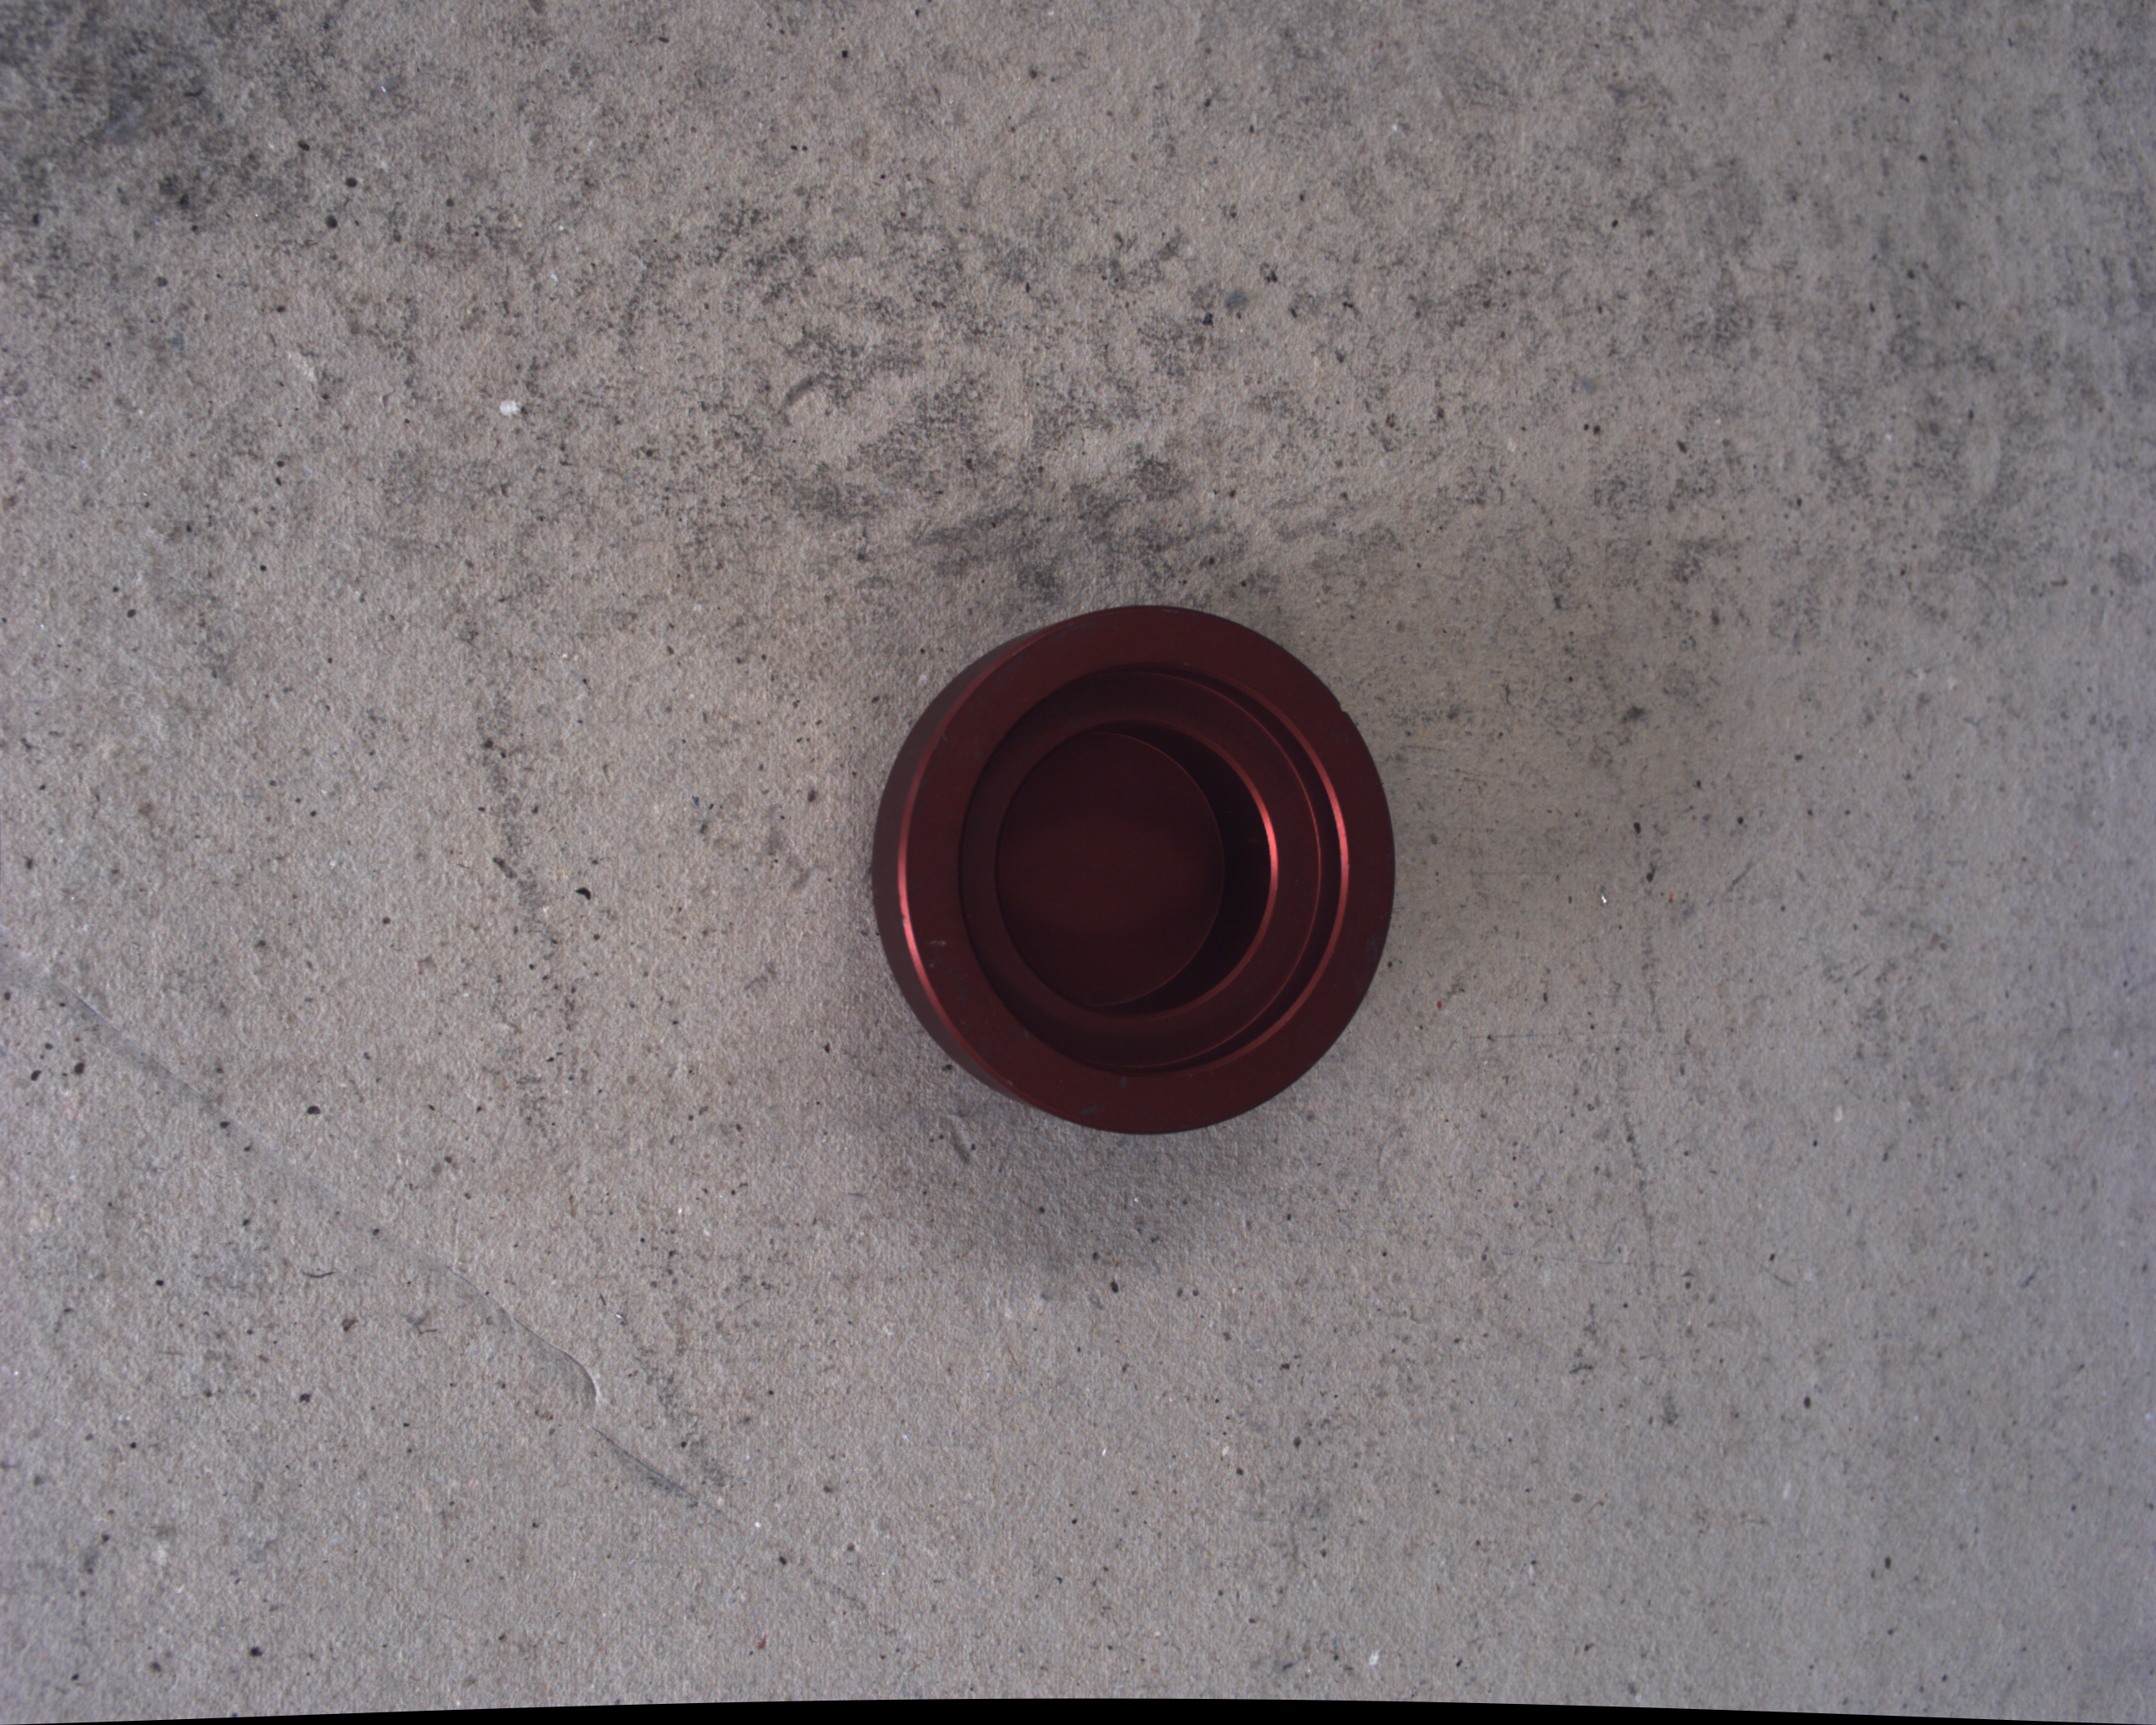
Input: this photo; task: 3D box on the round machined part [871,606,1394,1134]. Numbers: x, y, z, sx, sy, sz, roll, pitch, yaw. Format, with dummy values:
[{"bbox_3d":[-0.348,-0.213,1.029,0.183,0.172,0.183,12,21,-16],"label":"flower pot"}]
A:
[{"bbox_3d":[0.008,0.001,0.404,0.099,0.042,0.097,0,90,-20],"label":"round machined part"}]
